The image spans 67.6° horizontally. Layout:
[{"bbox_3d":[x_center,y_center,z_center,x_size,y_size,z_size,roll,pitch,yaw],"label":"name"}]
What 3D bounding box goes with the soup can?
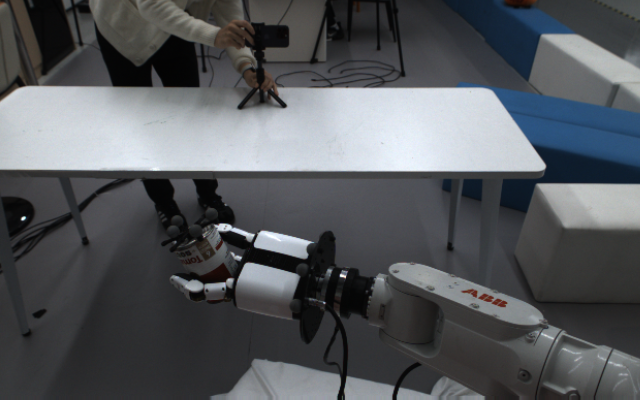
[{"bbox_3d":[-0.159,0.092,0.703,0.067,0.101,0.067,-22,24,10],"label":"soup can"}]
